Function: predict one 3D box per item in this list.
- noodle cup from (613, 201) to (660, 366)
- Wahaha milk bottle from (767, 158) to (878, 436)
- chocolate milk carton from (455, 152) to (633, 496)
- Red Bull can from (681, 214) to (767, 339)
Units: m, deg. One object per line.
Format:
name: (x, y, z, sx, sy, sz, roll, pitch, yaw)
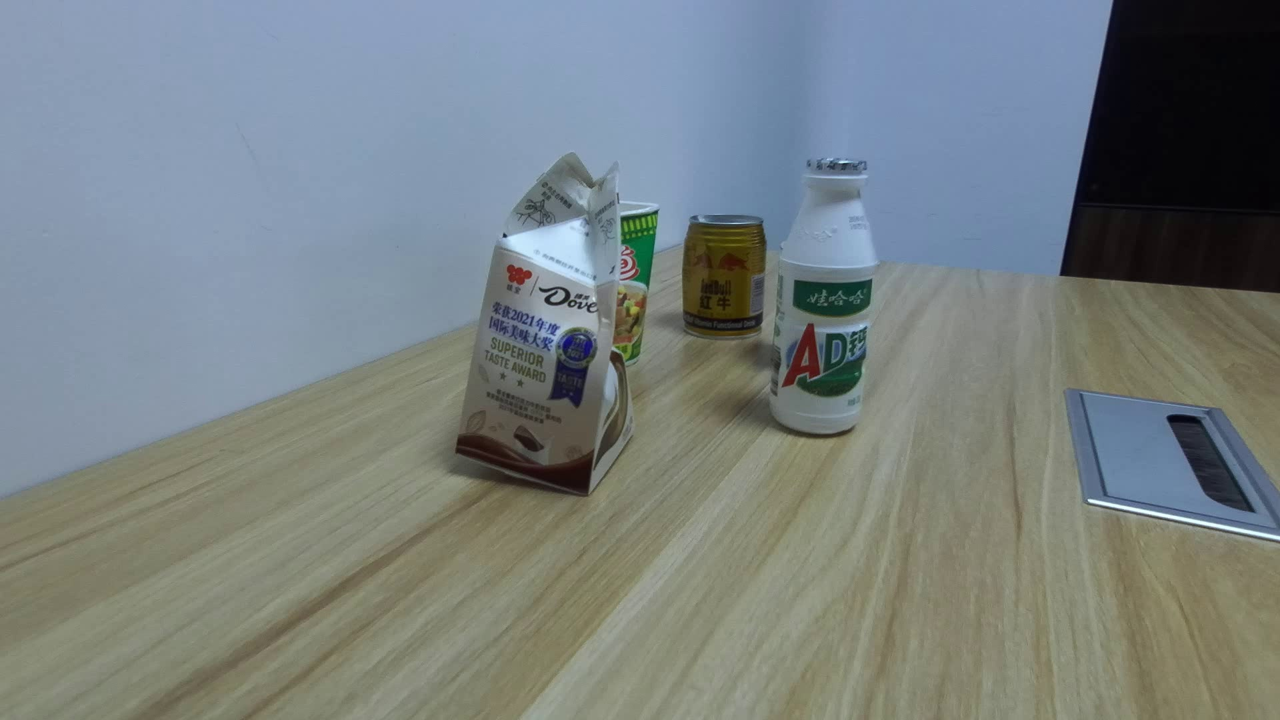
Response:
noodle cup: (-0.032, -0.055, 0.508, 0.094, 0.109, 0.086, -2, 15, -11)
Wahaha milk bottle: (0.101, -0.033, 0.386, 0.053, 0.147, 0.053, 0, 18, 0)
chocolate milk carton: (-0.039, -0.020, 0.353, 0.076, 0.155, 0.089, 8, 7, 11)
Red Bull can: (0.068, -0.069, 0.573, 0.068, 0.093, 0.068, 1, 19, 0)
